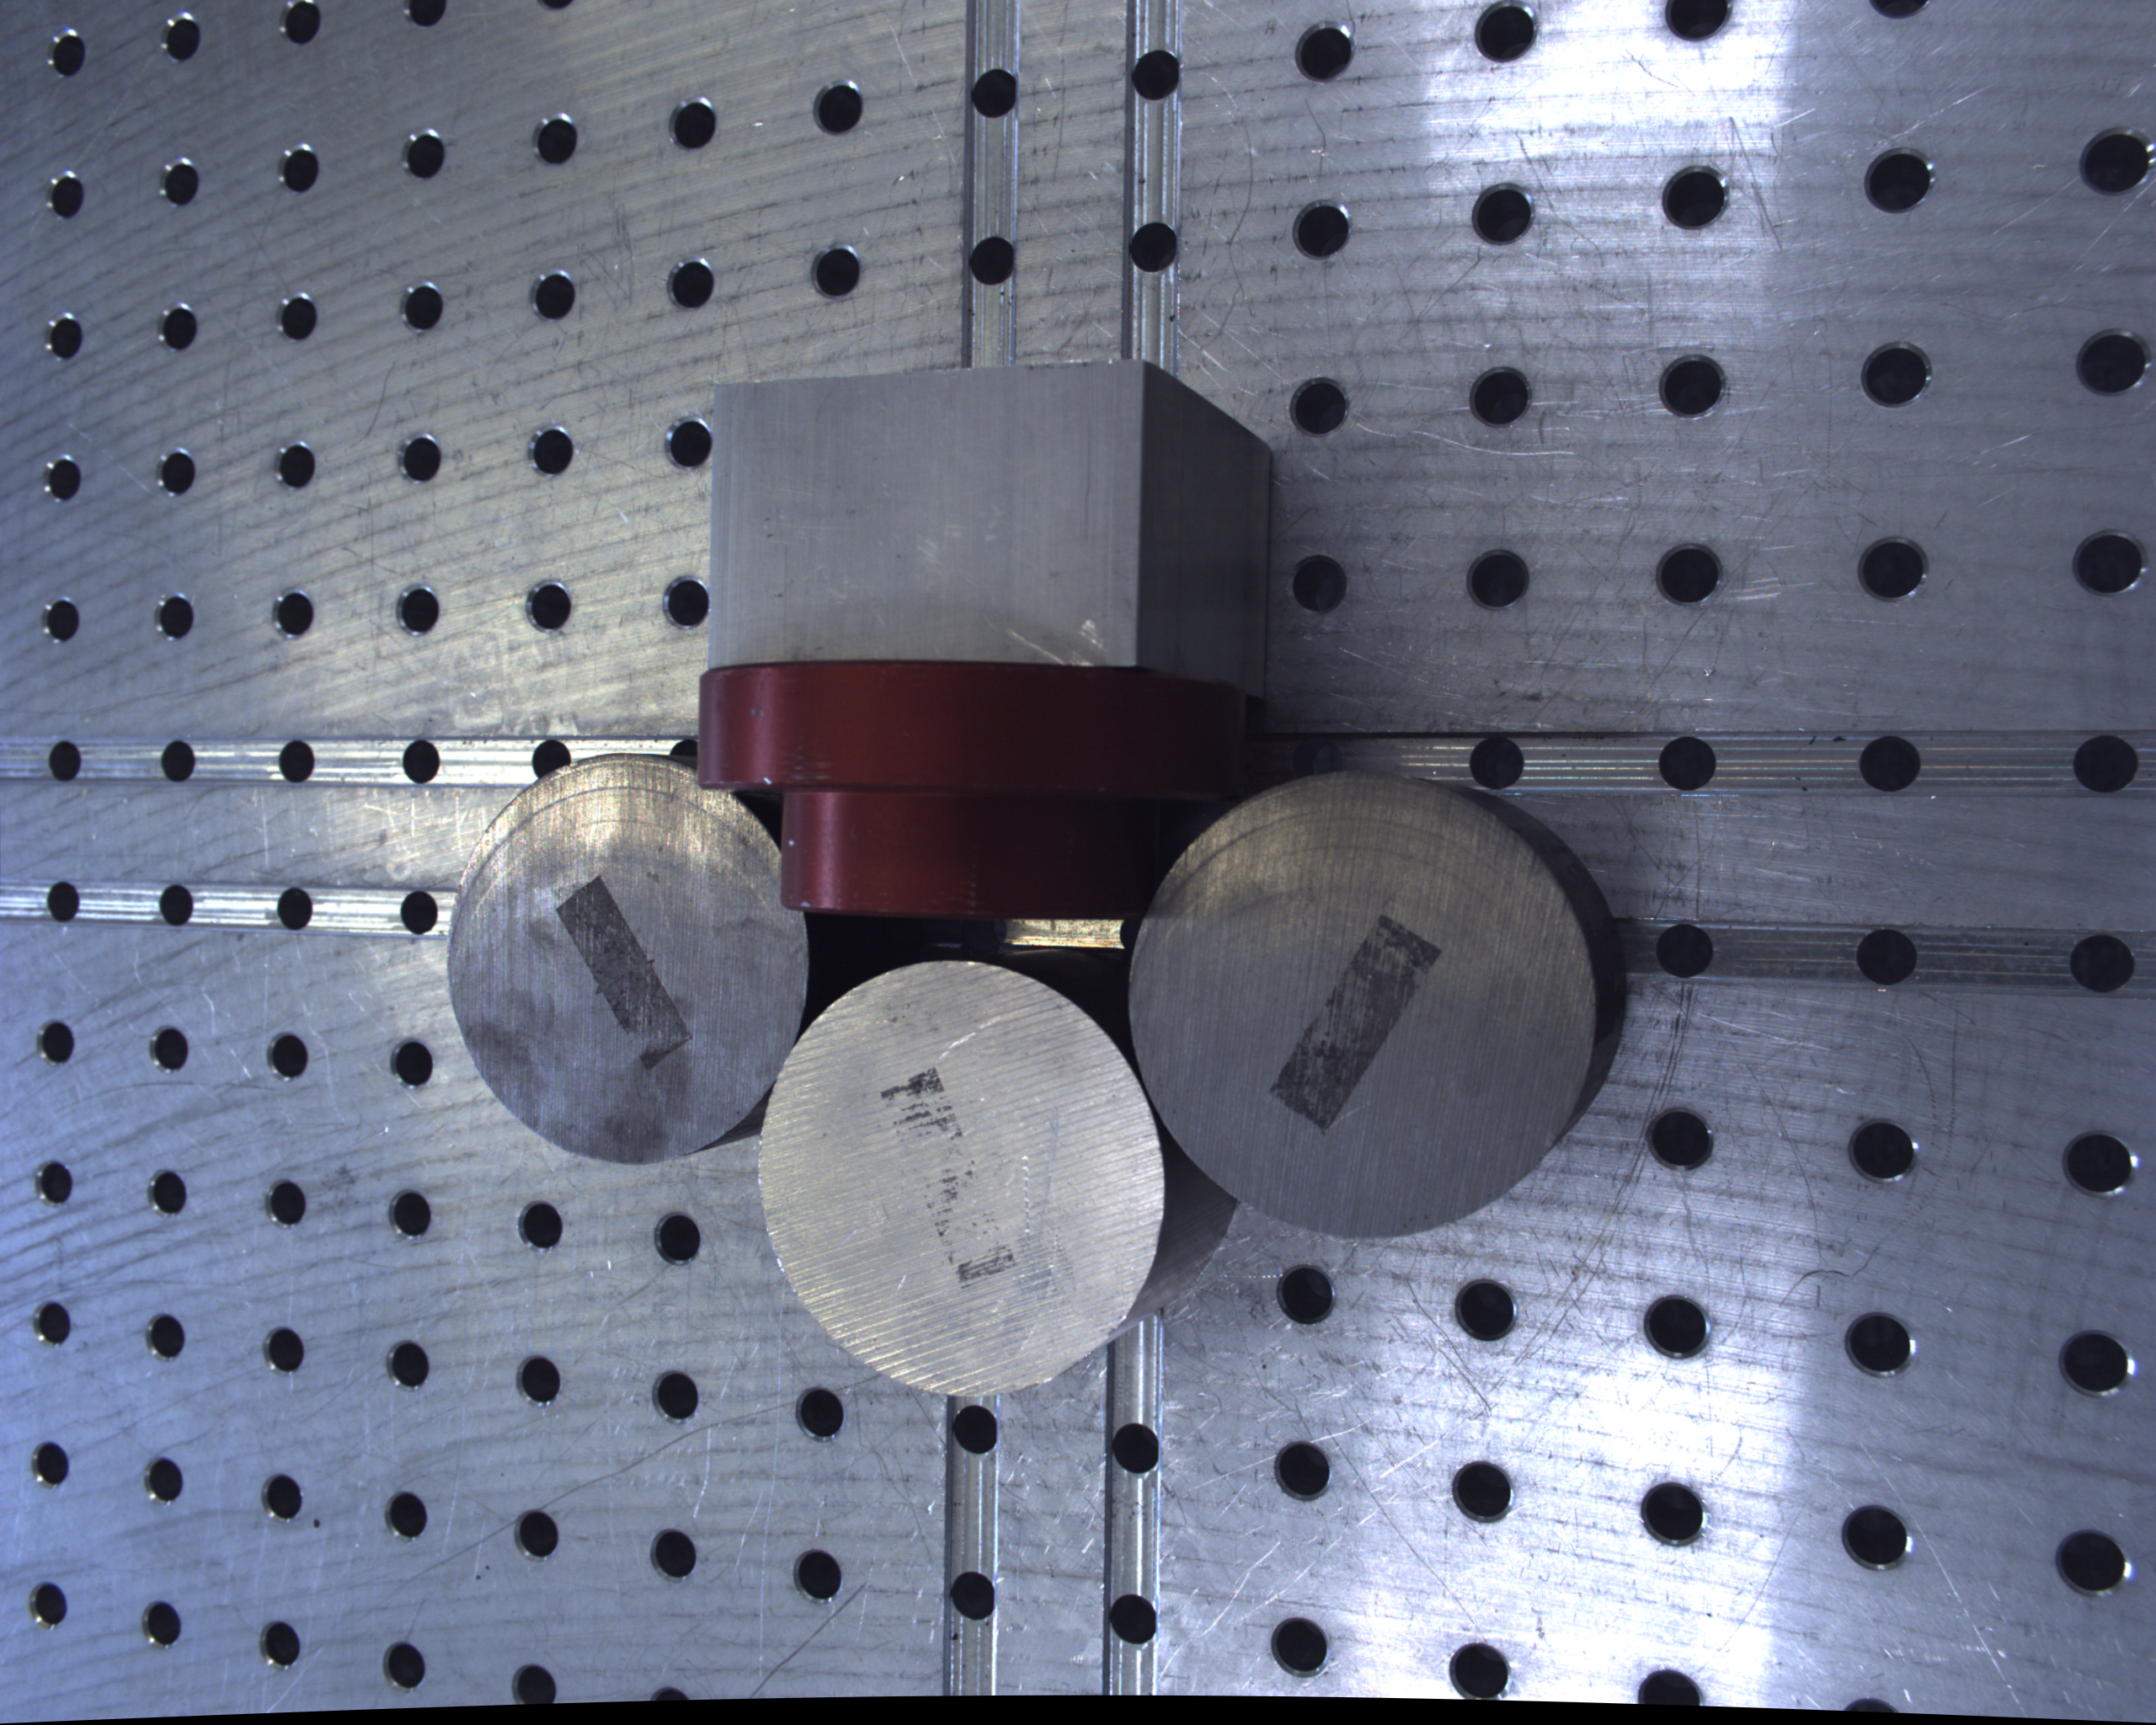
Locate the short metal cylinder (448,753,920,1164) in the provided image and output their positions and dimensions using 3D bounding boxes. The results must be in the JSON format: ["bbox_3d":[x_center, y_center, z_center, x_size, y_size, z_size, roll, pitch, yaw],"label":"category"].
[{"bbox_3d":[-0.080,0.018,0.428,0.080,0.050,0.079,0,90,20],"label":"short metal cylinder"}]

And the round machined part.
[{"bbox_3d":[-0.020,-0.011,0.379,0.098,0.098,0.042,2,90,20],"label":"round machined part"}]

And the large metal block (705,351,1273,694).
[{"bbox_3d":[-0.013,-0.058,0.387,0.080,0.080,0.050,1,91,20],"label":"large metal block"}]

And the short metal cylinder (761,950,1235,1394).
[{"bbox_3d":[-0.014,0.057,0.404,0.080,0.050,0.079,0,90,20],"label":"short metal cylinder"}]

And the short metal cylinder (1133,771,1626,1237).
[{"bbox_3d":[0.056,0.024,0.380,0.080,0.050,0.079,0,90,20],"label":"short metal cylinder"}]
